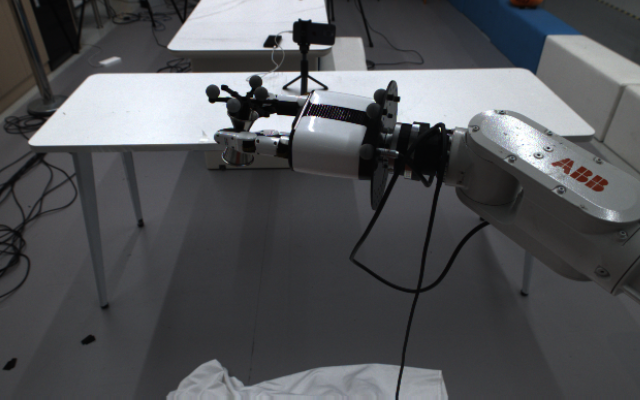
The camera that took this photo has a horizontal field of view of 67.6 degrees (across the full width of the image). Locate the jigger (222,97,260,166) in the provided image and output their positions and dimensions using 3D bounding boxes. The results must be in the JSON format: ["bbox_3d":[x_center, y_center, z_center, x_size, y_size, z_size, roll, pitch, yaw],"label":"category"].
[{"bbox_3d":[-0.105,-0.083,0.637,0.043,0.071,0.043,10,36,-7],"label":"jigger"}]
